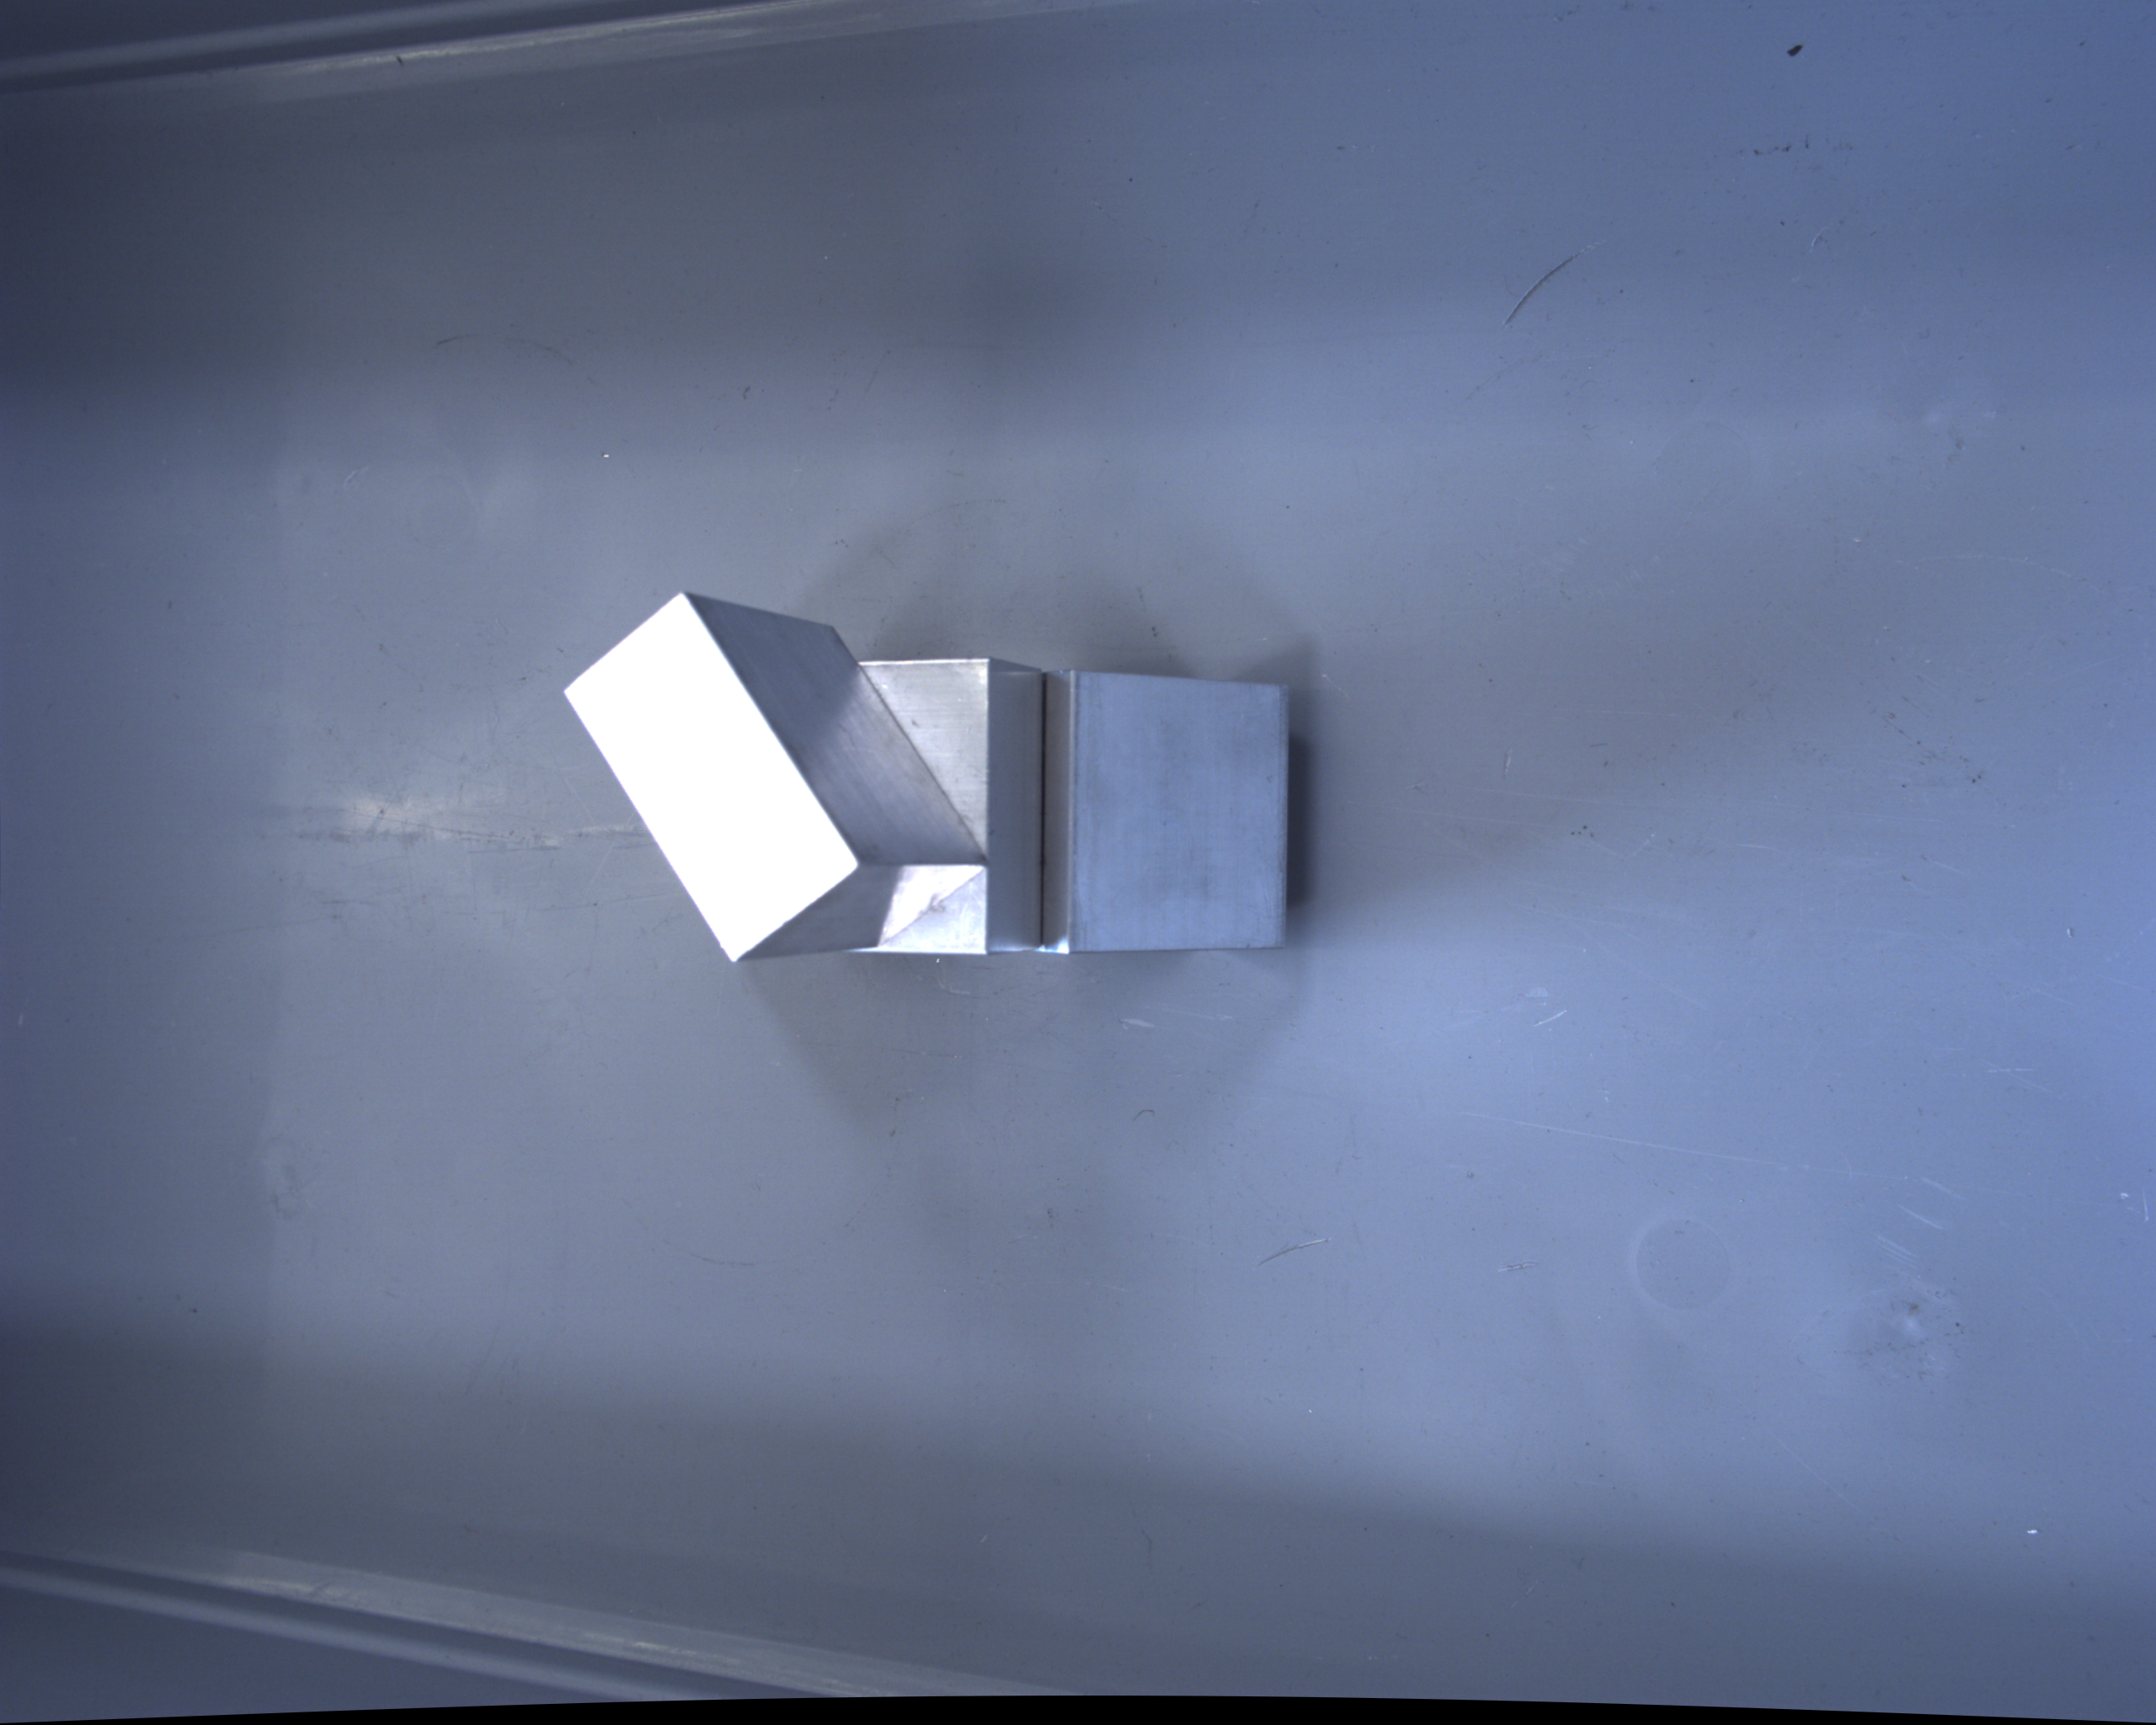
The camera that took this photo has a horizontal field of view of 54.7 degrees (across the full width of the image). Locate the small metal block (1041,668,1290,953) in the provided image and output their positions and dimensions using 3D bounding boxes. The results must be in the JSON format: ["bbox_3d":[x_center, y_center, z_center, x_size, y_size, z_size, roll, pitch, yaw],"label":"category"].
[{"bbox_3d":[0.012,-0.009,0.389,0.025,0.050,0.050,1,90,54],"label":"small metal block"}]

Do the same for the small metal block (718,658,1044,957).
[{"bbox_3d":[-0.034,-0.010,0.367,0.050,0.025,0.050,1,90,20],"label":"small metal block"}]

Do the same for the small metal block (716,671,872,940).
[{"bbox_3d":[-0.057,-0.011,0.412,0.025,0.050,0.050,1,90,-14],"label":"small metal block"}]

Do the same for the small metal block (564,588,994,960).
[{"bbox_3d":[-0.046,-0.013,0.331,0.025,0.050,0.050,-37,78,17],"label":"small metal block"}]

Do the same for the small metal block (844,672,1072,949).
[{"bbox_3d":[-0.022,-0.010,0.403,0.025,0.050,0.050,1,90,20],"label":"small metal block"}]
